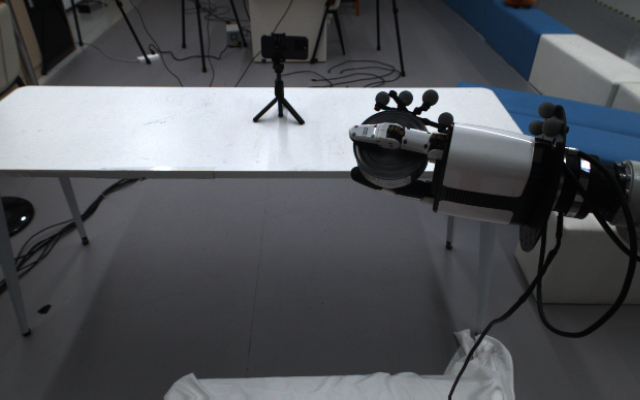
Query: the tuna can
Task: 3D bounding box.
[{"bbox_3d":[0.083,-0.061,0.554,0.085,0.034,0.085,-4,66,10],"label":"tuna can"}]
